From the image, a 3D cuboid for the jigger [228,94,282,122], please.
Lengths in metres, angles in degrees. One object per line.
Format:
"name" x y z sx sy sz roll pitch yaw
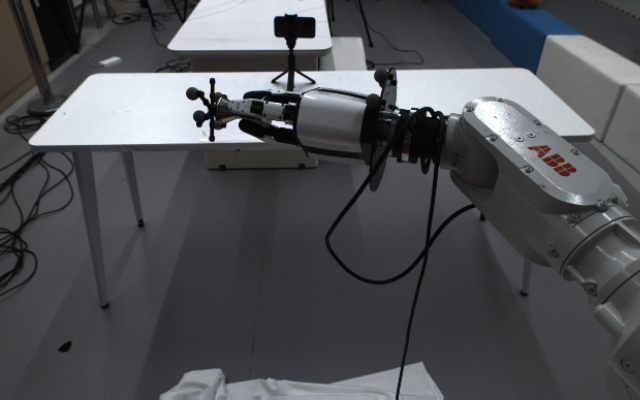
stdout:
"jigger" -0.102 -0.130 0.680 0.071 0.043 0.043 4 34 16
